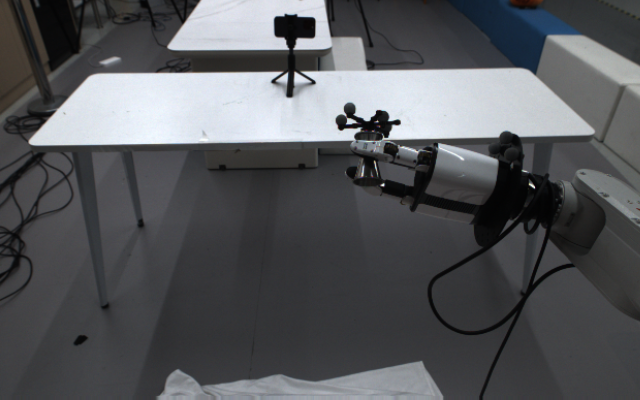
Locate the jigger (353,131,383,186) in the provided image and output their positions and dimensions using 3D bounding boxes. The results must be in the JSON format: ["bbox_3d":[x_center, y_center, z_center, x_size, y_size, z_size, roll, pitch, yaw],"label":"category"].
[{"bbox_3d":[0.066,-0.058,0.668,0.043,0.043,0.071,3,76,1],"label":"jigger"}]
